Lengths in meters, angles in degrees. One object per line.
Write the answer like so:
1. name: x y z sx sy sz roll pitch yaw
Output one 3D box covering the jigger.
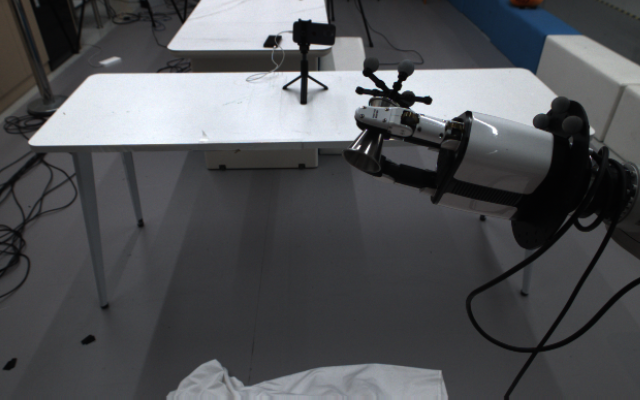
1. jigger: 0.057 -0.071 0.506 0.043 0.043 0.071 19 72 23
